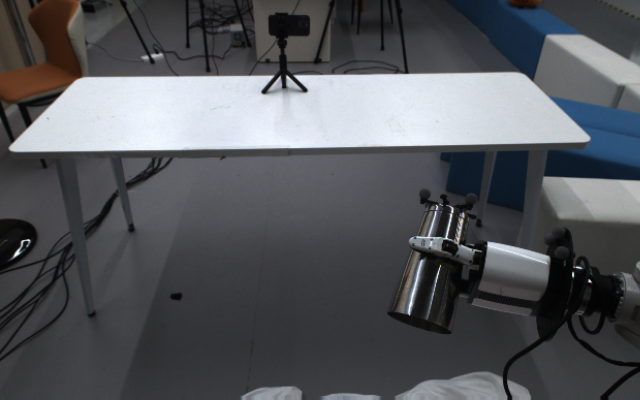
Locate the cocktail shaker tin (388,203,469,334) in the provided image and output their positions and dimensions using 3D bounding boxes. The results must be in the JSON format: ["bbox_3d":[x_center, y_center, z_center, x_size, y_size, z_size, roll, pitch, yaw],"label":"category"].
[{"bbox_3d":[0.162,0.094,0.698,0.093,0.093,0.170,14,69,17],"label":"cocktail shaker tin"}]
